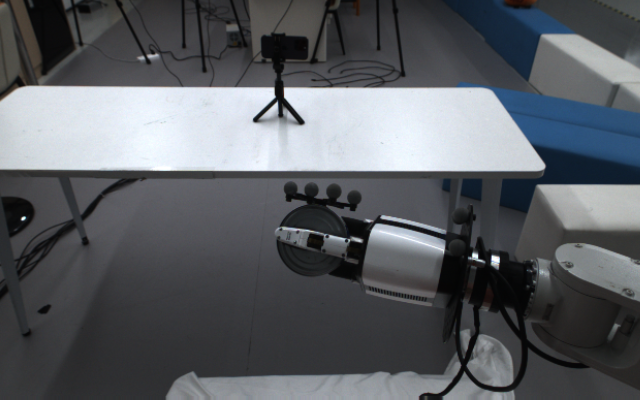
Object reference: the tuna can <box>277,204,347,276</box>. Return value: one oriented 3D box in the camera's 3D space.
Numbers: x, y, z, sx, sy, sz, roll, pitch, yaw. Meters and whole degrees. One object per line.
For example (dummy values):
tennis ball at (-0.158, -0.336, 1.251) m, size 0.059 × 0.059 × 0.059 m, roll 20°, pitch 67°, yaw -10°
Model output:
tuna can at (-0.006, 0.047, 0.581) m, size 0.085 × 0.085 × 0.034 m, roll 11°, pitch -7°, yaw 12°
